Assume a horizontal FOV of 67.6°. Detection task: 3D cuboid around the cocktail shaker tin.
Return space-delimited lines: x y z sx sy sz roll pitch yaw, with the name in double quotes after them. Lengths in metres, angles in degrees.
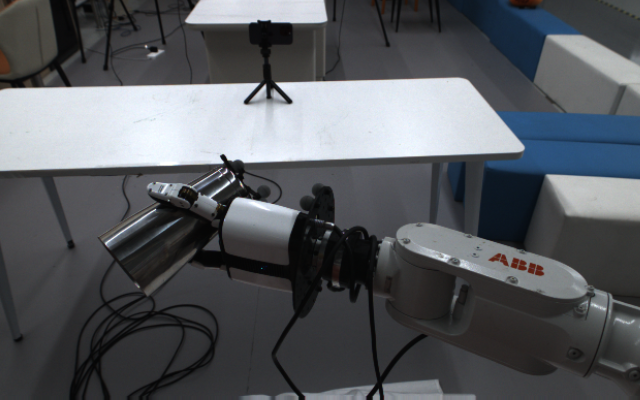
-0.174 0.027 0.606 0.170 0.093 0.093 -38 49 -24 "cocktail shaker tin"
